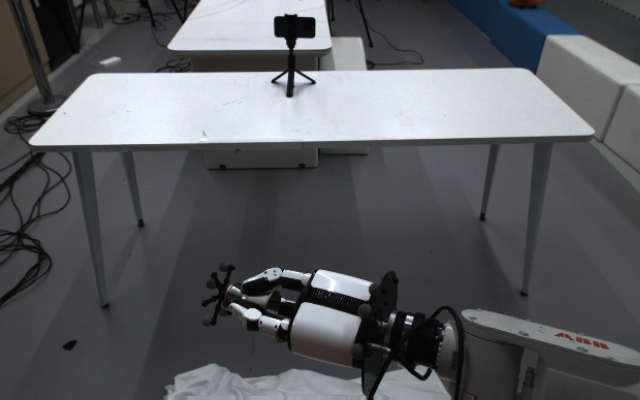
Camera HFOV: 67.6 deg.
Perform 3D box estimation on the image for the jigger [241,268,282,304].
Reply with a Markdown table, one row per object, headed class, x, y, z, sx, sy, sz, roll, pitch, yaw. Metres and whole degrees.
| class | x | y | z | sx | sy | sz | roll | pitch | yaw |
| --- | --- | --- | --- | --- | --- | --- | --- | --- | --- |
| jigger | -0.089 | 0.140 | 0.679 | 0.071 | 0.043 | 0.043 | 7 | 34 | 23 |
